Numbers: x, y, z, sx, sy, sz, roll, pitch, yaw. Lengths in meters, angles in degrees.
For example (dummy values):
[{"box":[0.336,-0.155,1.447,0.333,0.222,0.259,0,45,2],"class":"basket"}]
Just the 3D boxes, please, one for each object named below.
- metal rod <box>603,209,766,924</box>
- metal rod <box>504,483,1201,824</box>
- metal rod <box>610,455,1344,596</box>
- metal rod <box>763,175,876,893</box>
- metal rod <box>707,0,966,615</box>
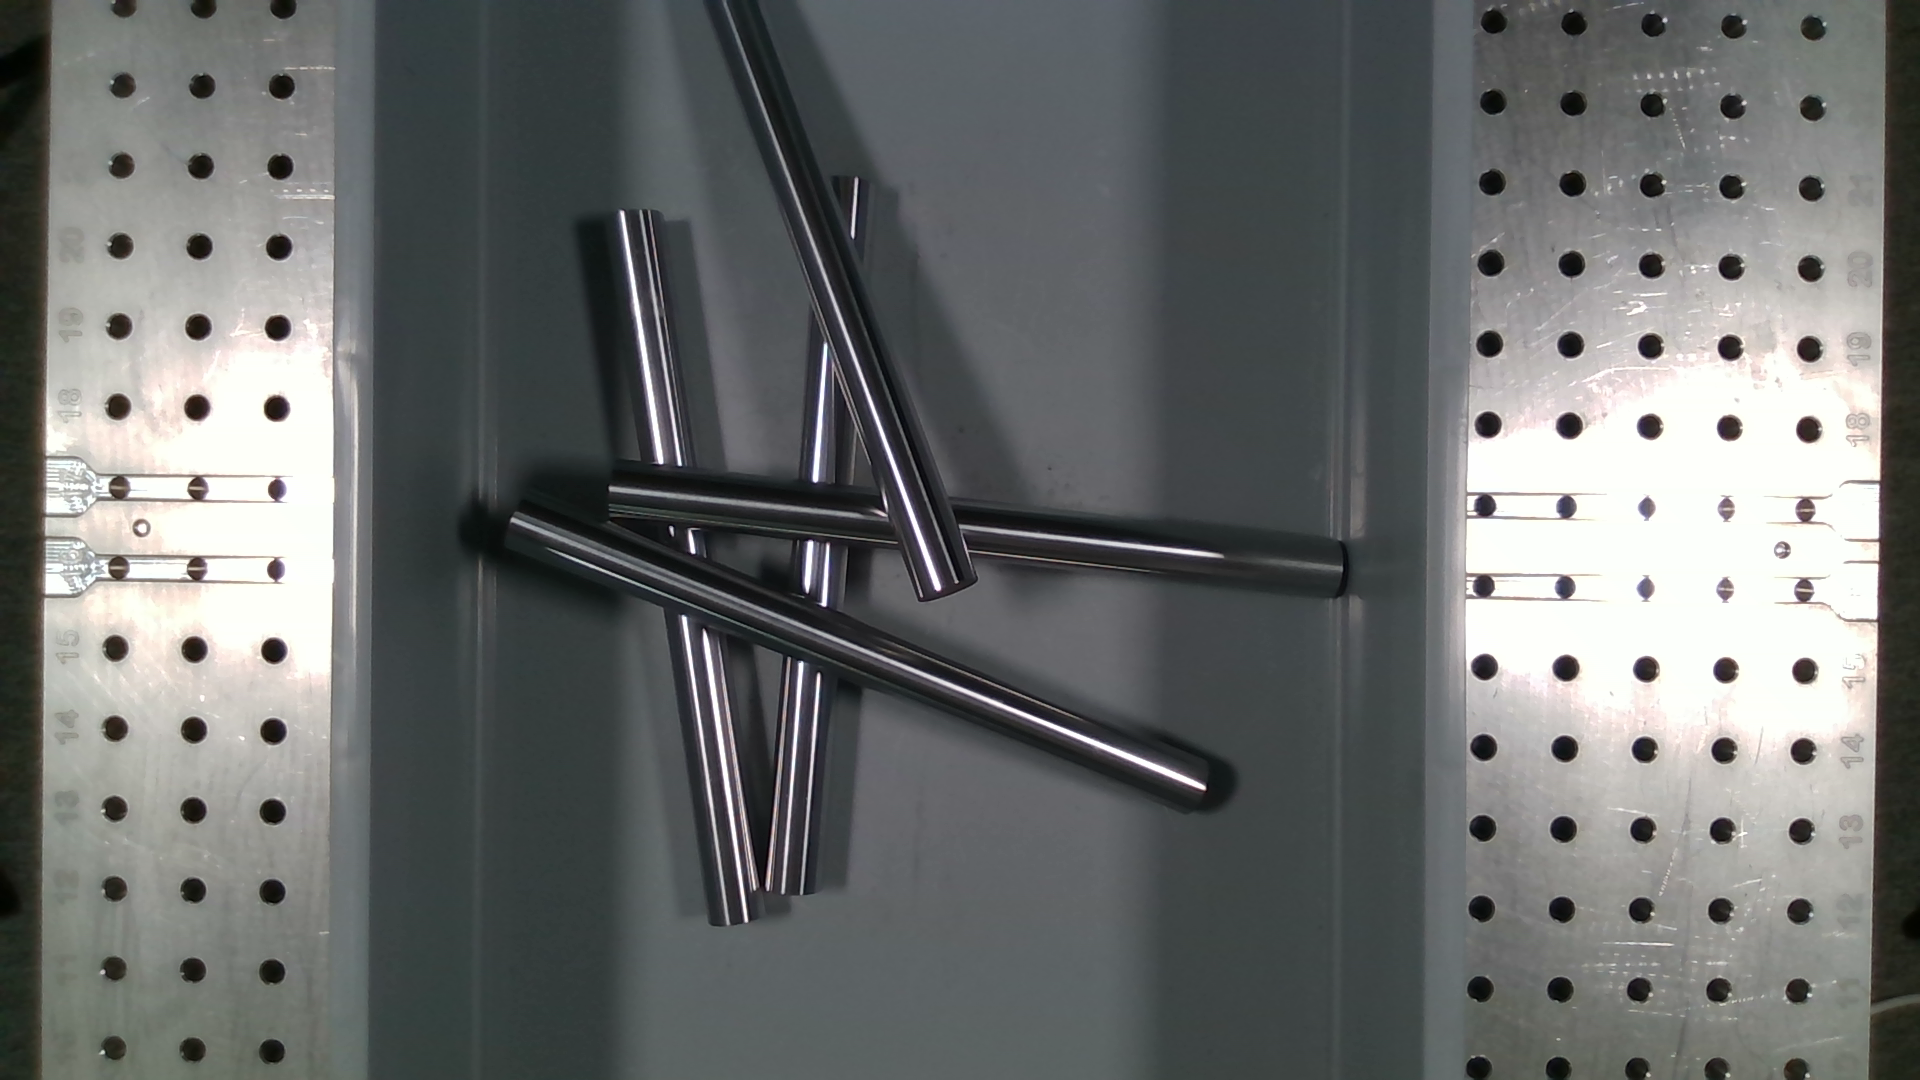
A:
[{"box":[-0.117,0.011,0.586,0.025,0.025,0.300,-9,91,0],"class":"metal rod"},{"box":[-0.039,0.049,0.566,0.300,0.025,0.025,24,90,-8],"class":"metal rod"},{"box":[0.010,-0.005,0.569,0.300,0.025,0.025,6,90,-6],"class":"metal rod"},{"box":[-0.060,-0.002,0.586,0.025,0.025,0.300,5,91,0],"class":"metal rod"},{"box":[-0.056,-0.115,0.560,0.025,0.025,0.300,-19,85,0],"class":"metal rod"}]
